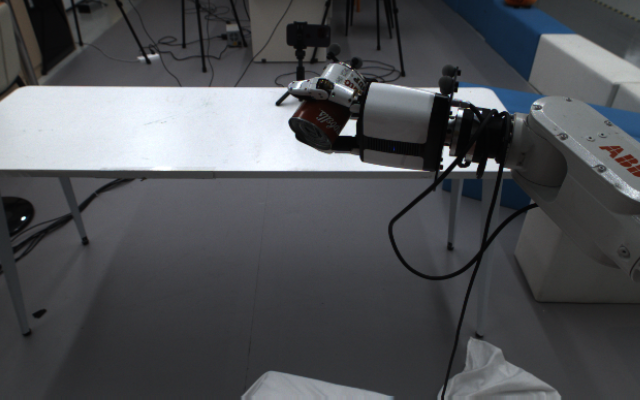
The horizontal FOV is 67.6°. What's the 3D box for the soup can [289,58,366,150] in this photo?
[{"bbox_3d":[0.013,-0.128,0.656,0.067,0.067,0.101,24,73,28],"label":"soup can"}]
